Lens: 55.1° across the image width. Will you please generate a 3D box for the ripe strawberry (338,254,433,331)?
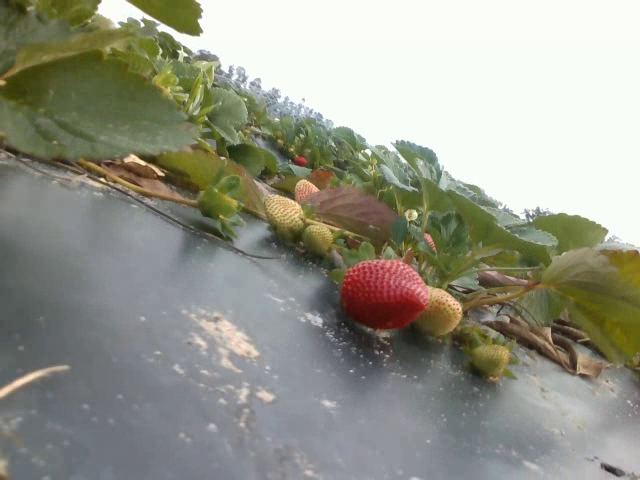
[{"bbox_3d":[0.035,0.025,0.286,0.050,0.034,0.059,23,-4,-24],"label":"ripe strawberry"}]
